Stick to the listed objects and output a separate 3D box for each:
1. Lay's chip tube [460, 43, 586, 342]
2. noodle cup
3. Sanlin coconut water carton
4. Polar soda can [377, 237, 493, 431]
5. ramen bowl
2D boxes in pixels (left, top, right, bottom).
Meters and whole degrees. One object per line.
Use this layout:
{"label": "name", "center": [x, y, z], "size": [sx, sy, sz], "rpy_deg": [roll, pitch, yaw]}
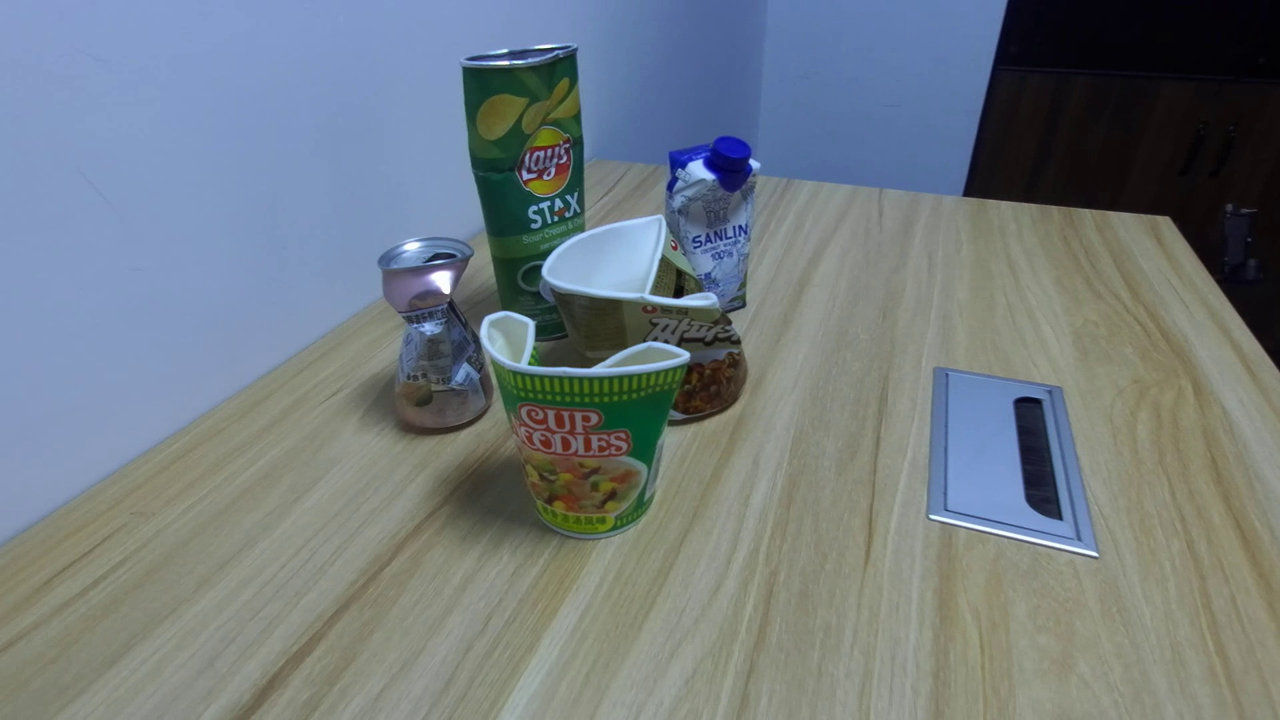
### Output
{"label": "Lay's chip tube", "center": [-0.075, -0.117, 0.516], "size": [0.069, 0.200, 0.075], "rpy_deg": [2, 33, 4]}
{"label": "noodle cup", "center": [-0.028, 0.028, 0.362], "size": [0.075, 0.122, 0.082], "rpy_deg": [-26, 49, -22]}
{"label": "Sanlin coconut water carton", "center": [0.055, -0.103, 0.547], "size": [0.078, 0.142, 0.057], "rpy_deg": [-20, 41, -29]}
{"label": "Polar soda can", "center": [-0.128, -0.017, 0.445], "size": [0.074, 0.114, 0.070], "rpy_deg": [21, 32, 28]}
{"label": "ramen bowl", "center": [0.009, -0.028, 0.469], "size": [0.137, 0.098, 0.137], "rpy_deg": [-1, 30, 1]}
